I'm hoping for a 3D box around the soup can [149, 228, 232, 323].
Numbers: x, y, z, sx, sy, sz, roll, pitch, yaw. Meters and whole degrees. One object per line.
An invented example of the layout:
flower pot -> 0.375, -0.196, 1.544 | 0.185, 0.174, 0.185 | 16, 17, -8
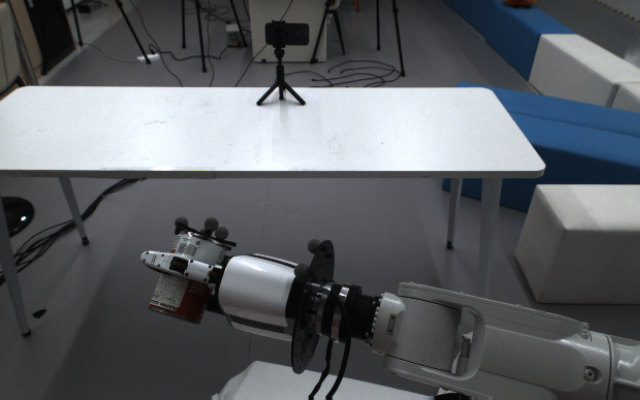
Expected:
soup can -> -0.163, 0.099, 0.607 | 0.067, 0.067, 0.101 | 12, 70, 14
